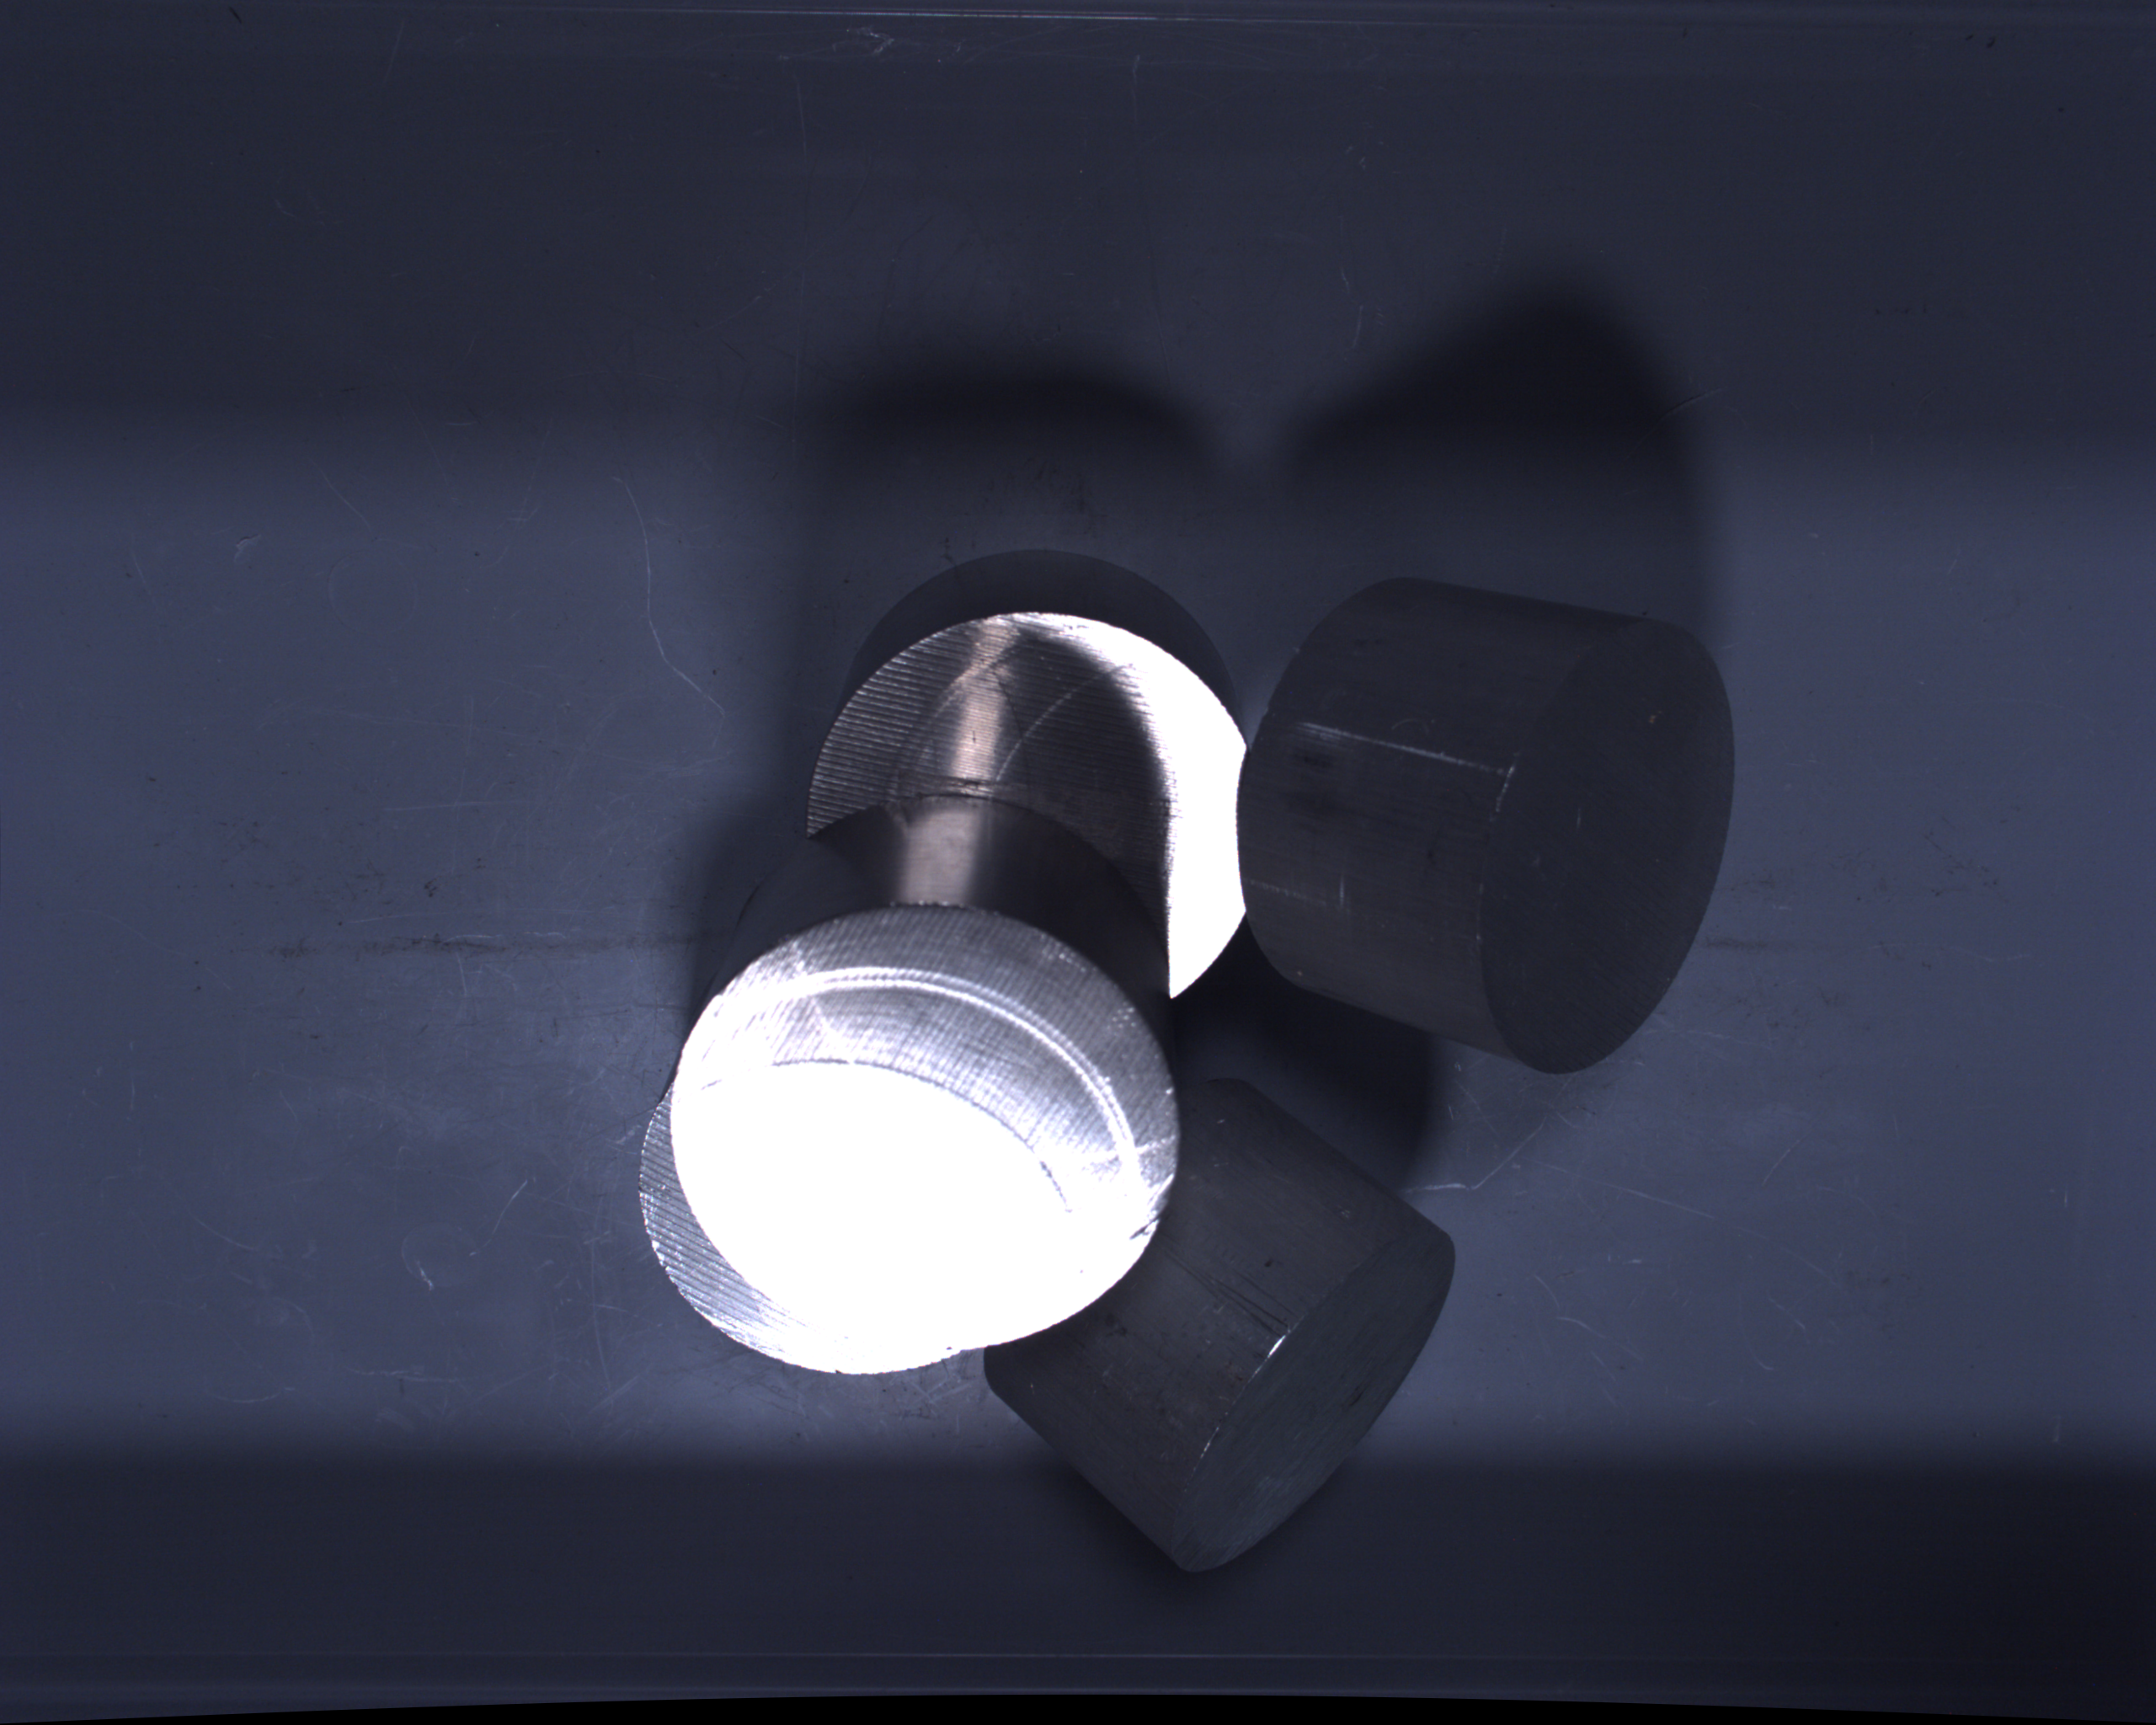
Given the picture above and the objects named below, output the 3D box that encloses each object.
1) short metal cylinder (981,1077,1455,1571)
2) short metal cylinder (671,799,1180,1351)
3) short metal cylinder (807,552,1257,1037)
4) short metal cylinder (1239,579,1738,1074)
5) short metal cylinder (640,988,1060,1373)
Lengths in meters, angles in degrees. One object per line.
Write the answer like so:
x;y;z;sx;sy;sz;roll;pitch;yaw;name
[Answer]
0.028;0.089;0.406;0.050;0.081;0.079;36;111;30;short metal cylinder
-0.024;0.035;0.354;0.081;0.050;0.079;0;110;-1;short metal cylinder
-0.007;-0.014;0.391;0.081;0.050;0.079;0;110;-1;short metal cylinder
0.074;-0.008;0.372;0.081;0.050;0.079;-18;115;-42;short metal cylinder
-0.042;0.054;0.416;0.081;0.050;0.079;0;110;-1;short metal cylinder
